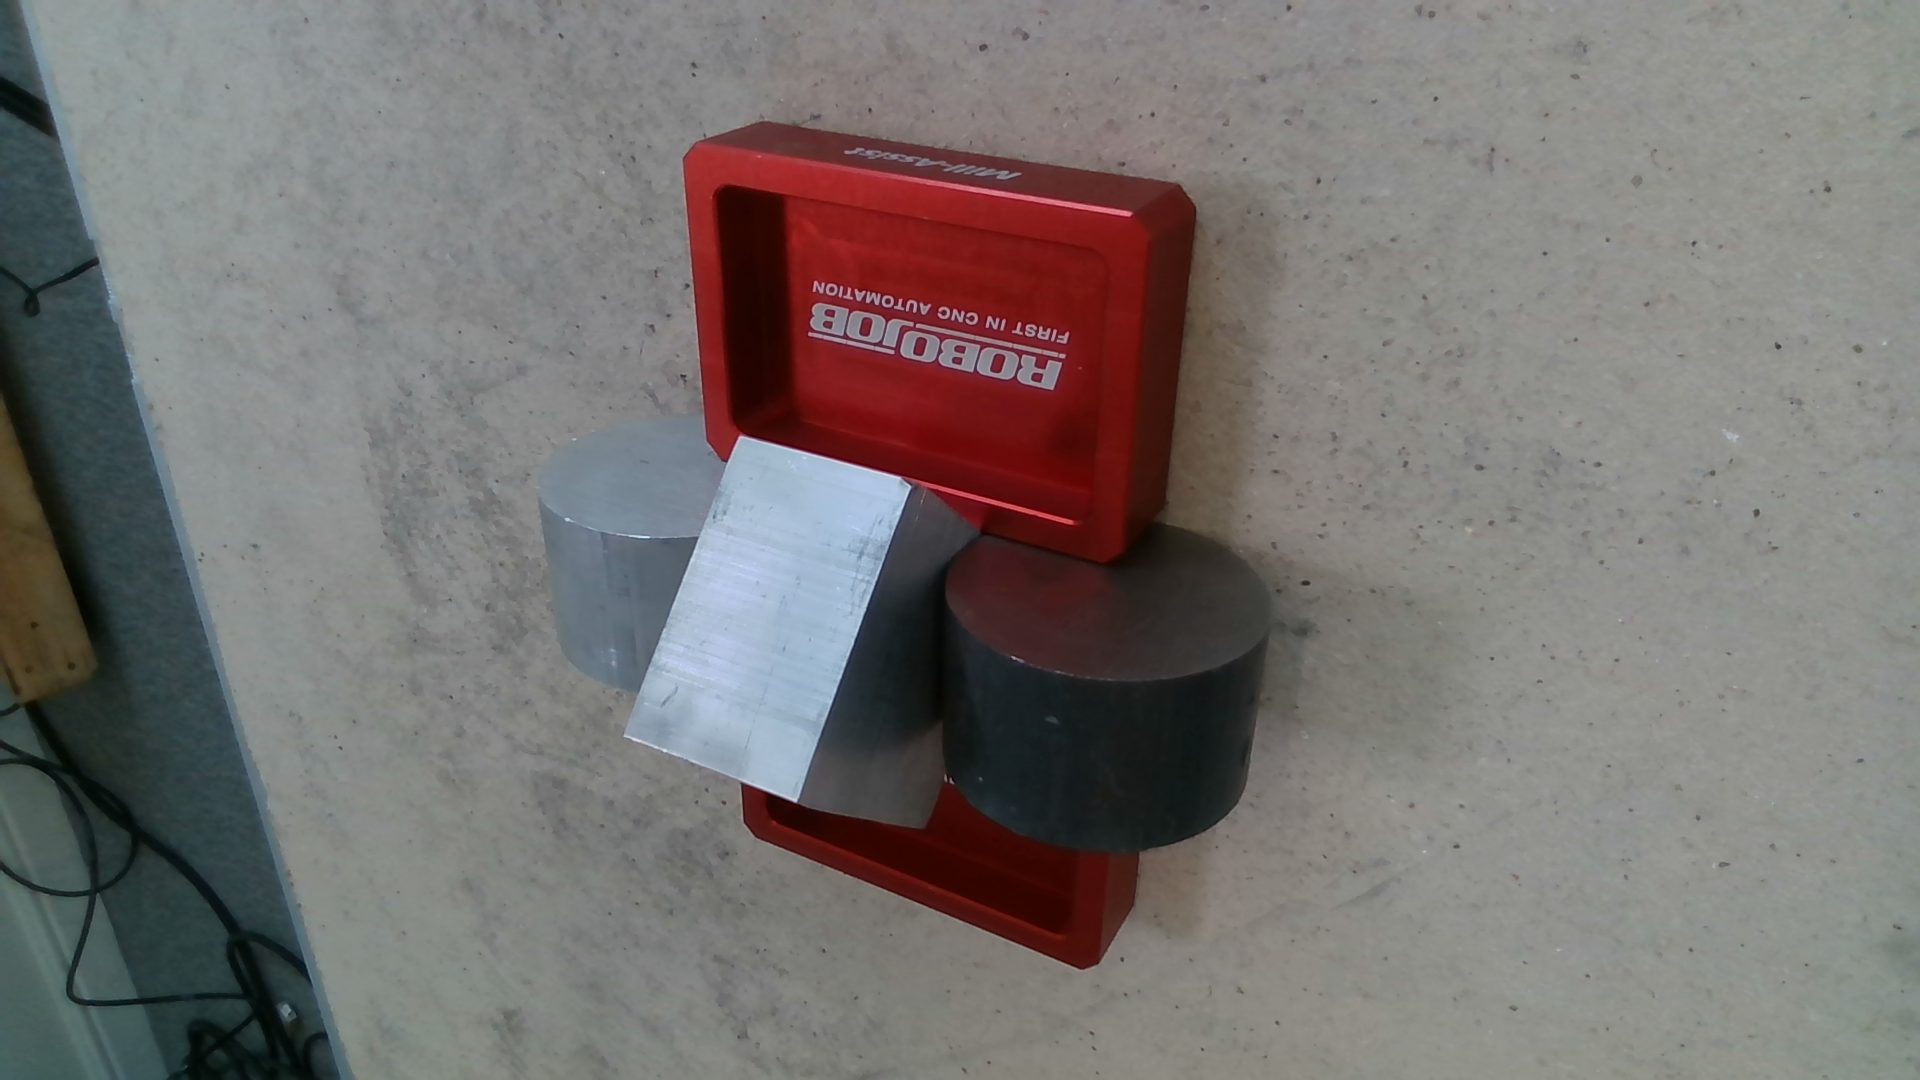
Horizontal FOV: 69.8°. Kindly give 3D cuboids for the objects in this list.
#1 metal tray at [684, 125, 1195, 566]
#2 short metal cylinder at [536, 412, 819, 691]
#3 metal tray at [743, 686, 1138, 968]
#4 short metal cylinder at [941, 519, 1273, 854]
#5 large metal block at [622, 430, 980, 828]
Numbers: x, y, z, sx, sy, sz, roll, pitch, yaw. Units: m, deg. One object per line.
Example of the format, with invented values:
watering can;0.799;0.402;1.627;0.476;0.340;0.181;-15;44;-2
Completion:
metal tray;-0.009;-0.053;0.362;0.130;0.030;0.090;16;122;24
short metal cylinder;-0.079;0.002;0.403;0.080;0.080;0.050;16;122;24
metal tray;-0.008;0.070;0.430;0.130;0.030;0.090;16;122;24
short metal cylinder;0.036;0.033;0.350;0.080;0.080;0.050;16;122;24
large metal block;-0.032;0.026;0.361;0.050;0.080;0.080;16;82;25
